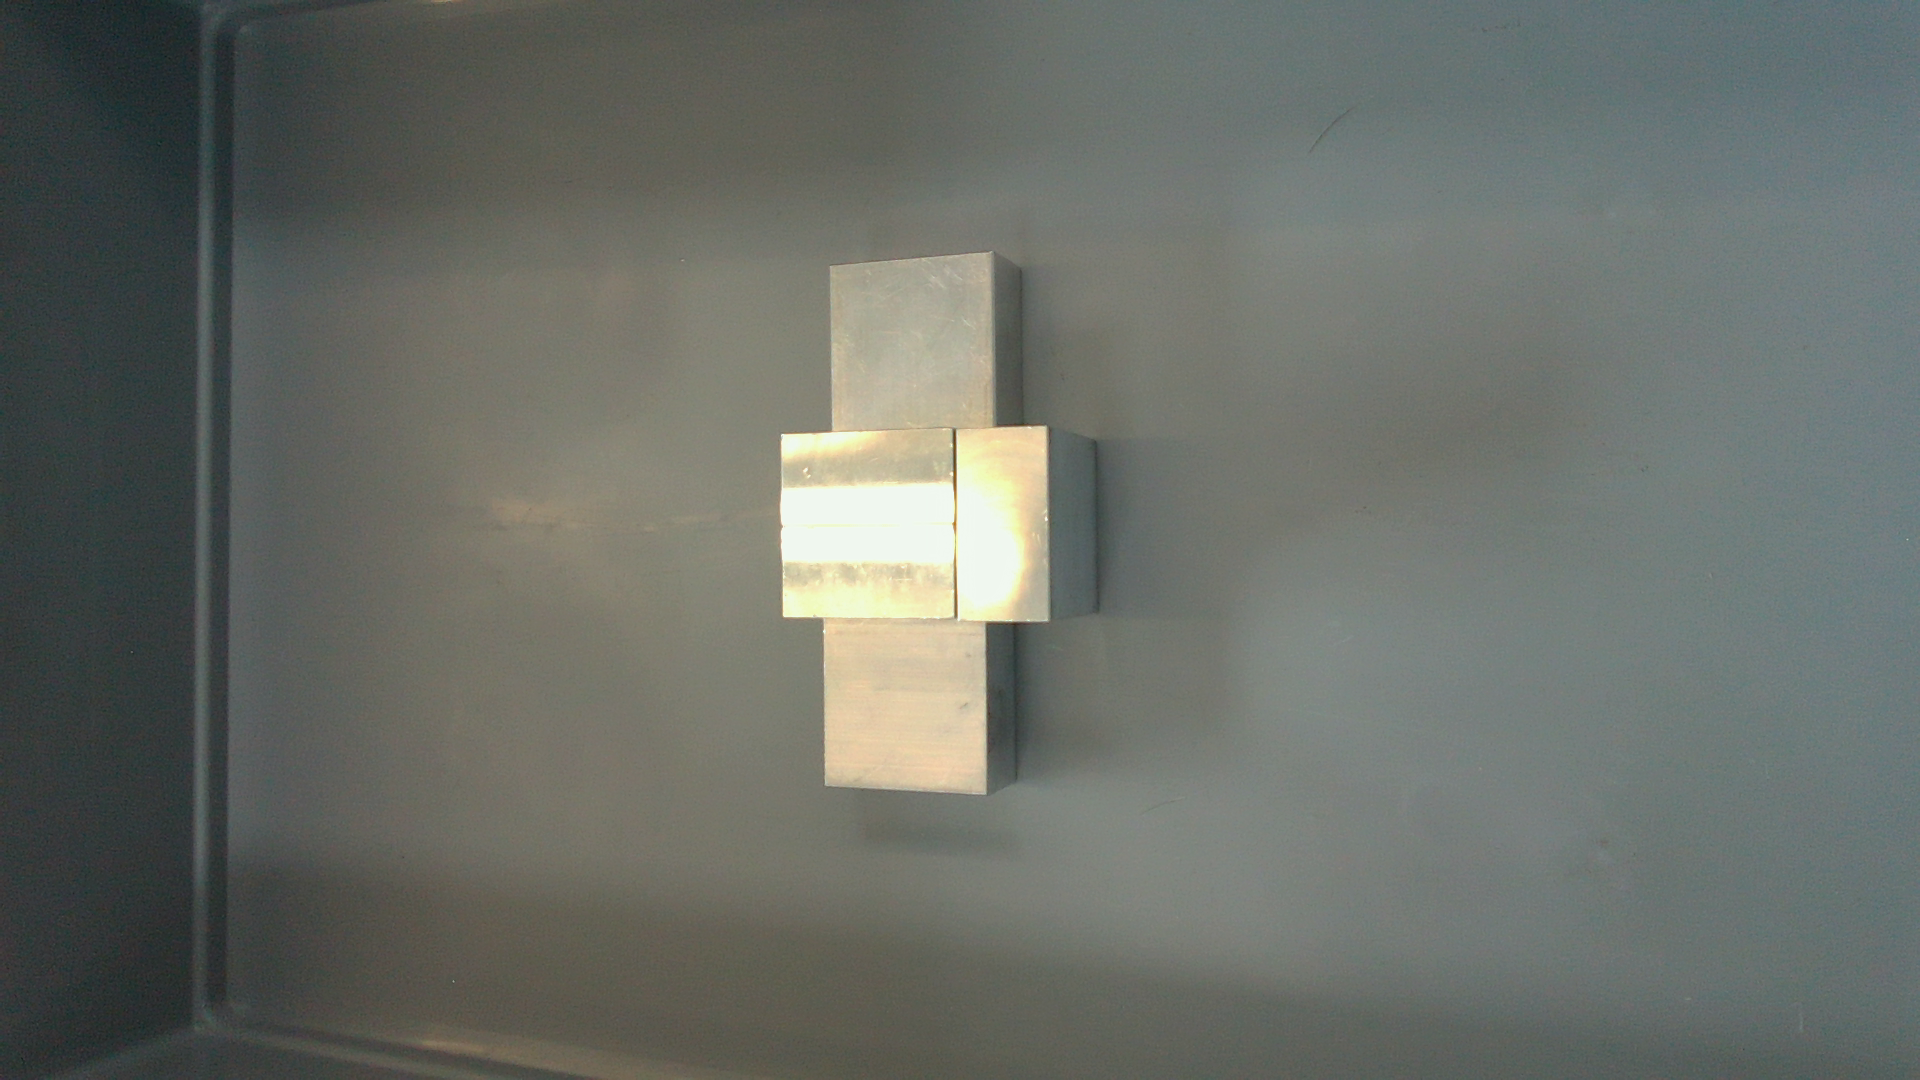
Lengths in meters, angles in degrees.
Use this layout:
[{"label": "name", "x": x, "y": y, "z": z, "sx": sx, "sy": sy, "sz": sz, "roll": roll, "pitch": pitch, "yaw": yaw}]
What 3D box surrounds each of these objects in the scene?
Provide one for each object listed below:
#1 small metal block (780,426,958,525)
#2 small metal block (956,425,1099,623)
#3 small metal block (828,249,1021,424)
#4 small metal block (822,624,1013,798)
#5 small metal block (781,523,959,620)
[{"label": "small metal block", "x": -0.017, "y": -0.017, "z": 0.387, "sx": 0.050, "sy": 0.050, "sz": 0.025, "roll": 0, "pitch": 90, "yaw": 20}, {"label": "small metal block", "x": 0.019, "y": -0.004, "z": 0.374, "sx": 0.025, "sy": 0.050, "sz": 0.050, "roll": 0, "pitch": 90, "yaw": 20}, {"label": "small metal block", "x": -0.010, "y": -0.055, "z": 0.398, "sx": 0.050, "sy": 0.025, "sz": 0.050, "roll": 0, "pitch": 90, "yaw": 20}, {"label": "small metal block", "x": -0.012, "y": 0.046, "z": 0.399, "sx": 0.050, "sy": 0.025, "sz": 0.050, "roll": 0, "pitch": 90, "yaw": 20}, {"label": "small metal block", "x": -0.016, "y": 0.008, "z": 0.387, "sx": 0.050, "sy": 0.050, "sz": 0.025, "roll": 0, "pitch": 90, "yaw": 20}]
